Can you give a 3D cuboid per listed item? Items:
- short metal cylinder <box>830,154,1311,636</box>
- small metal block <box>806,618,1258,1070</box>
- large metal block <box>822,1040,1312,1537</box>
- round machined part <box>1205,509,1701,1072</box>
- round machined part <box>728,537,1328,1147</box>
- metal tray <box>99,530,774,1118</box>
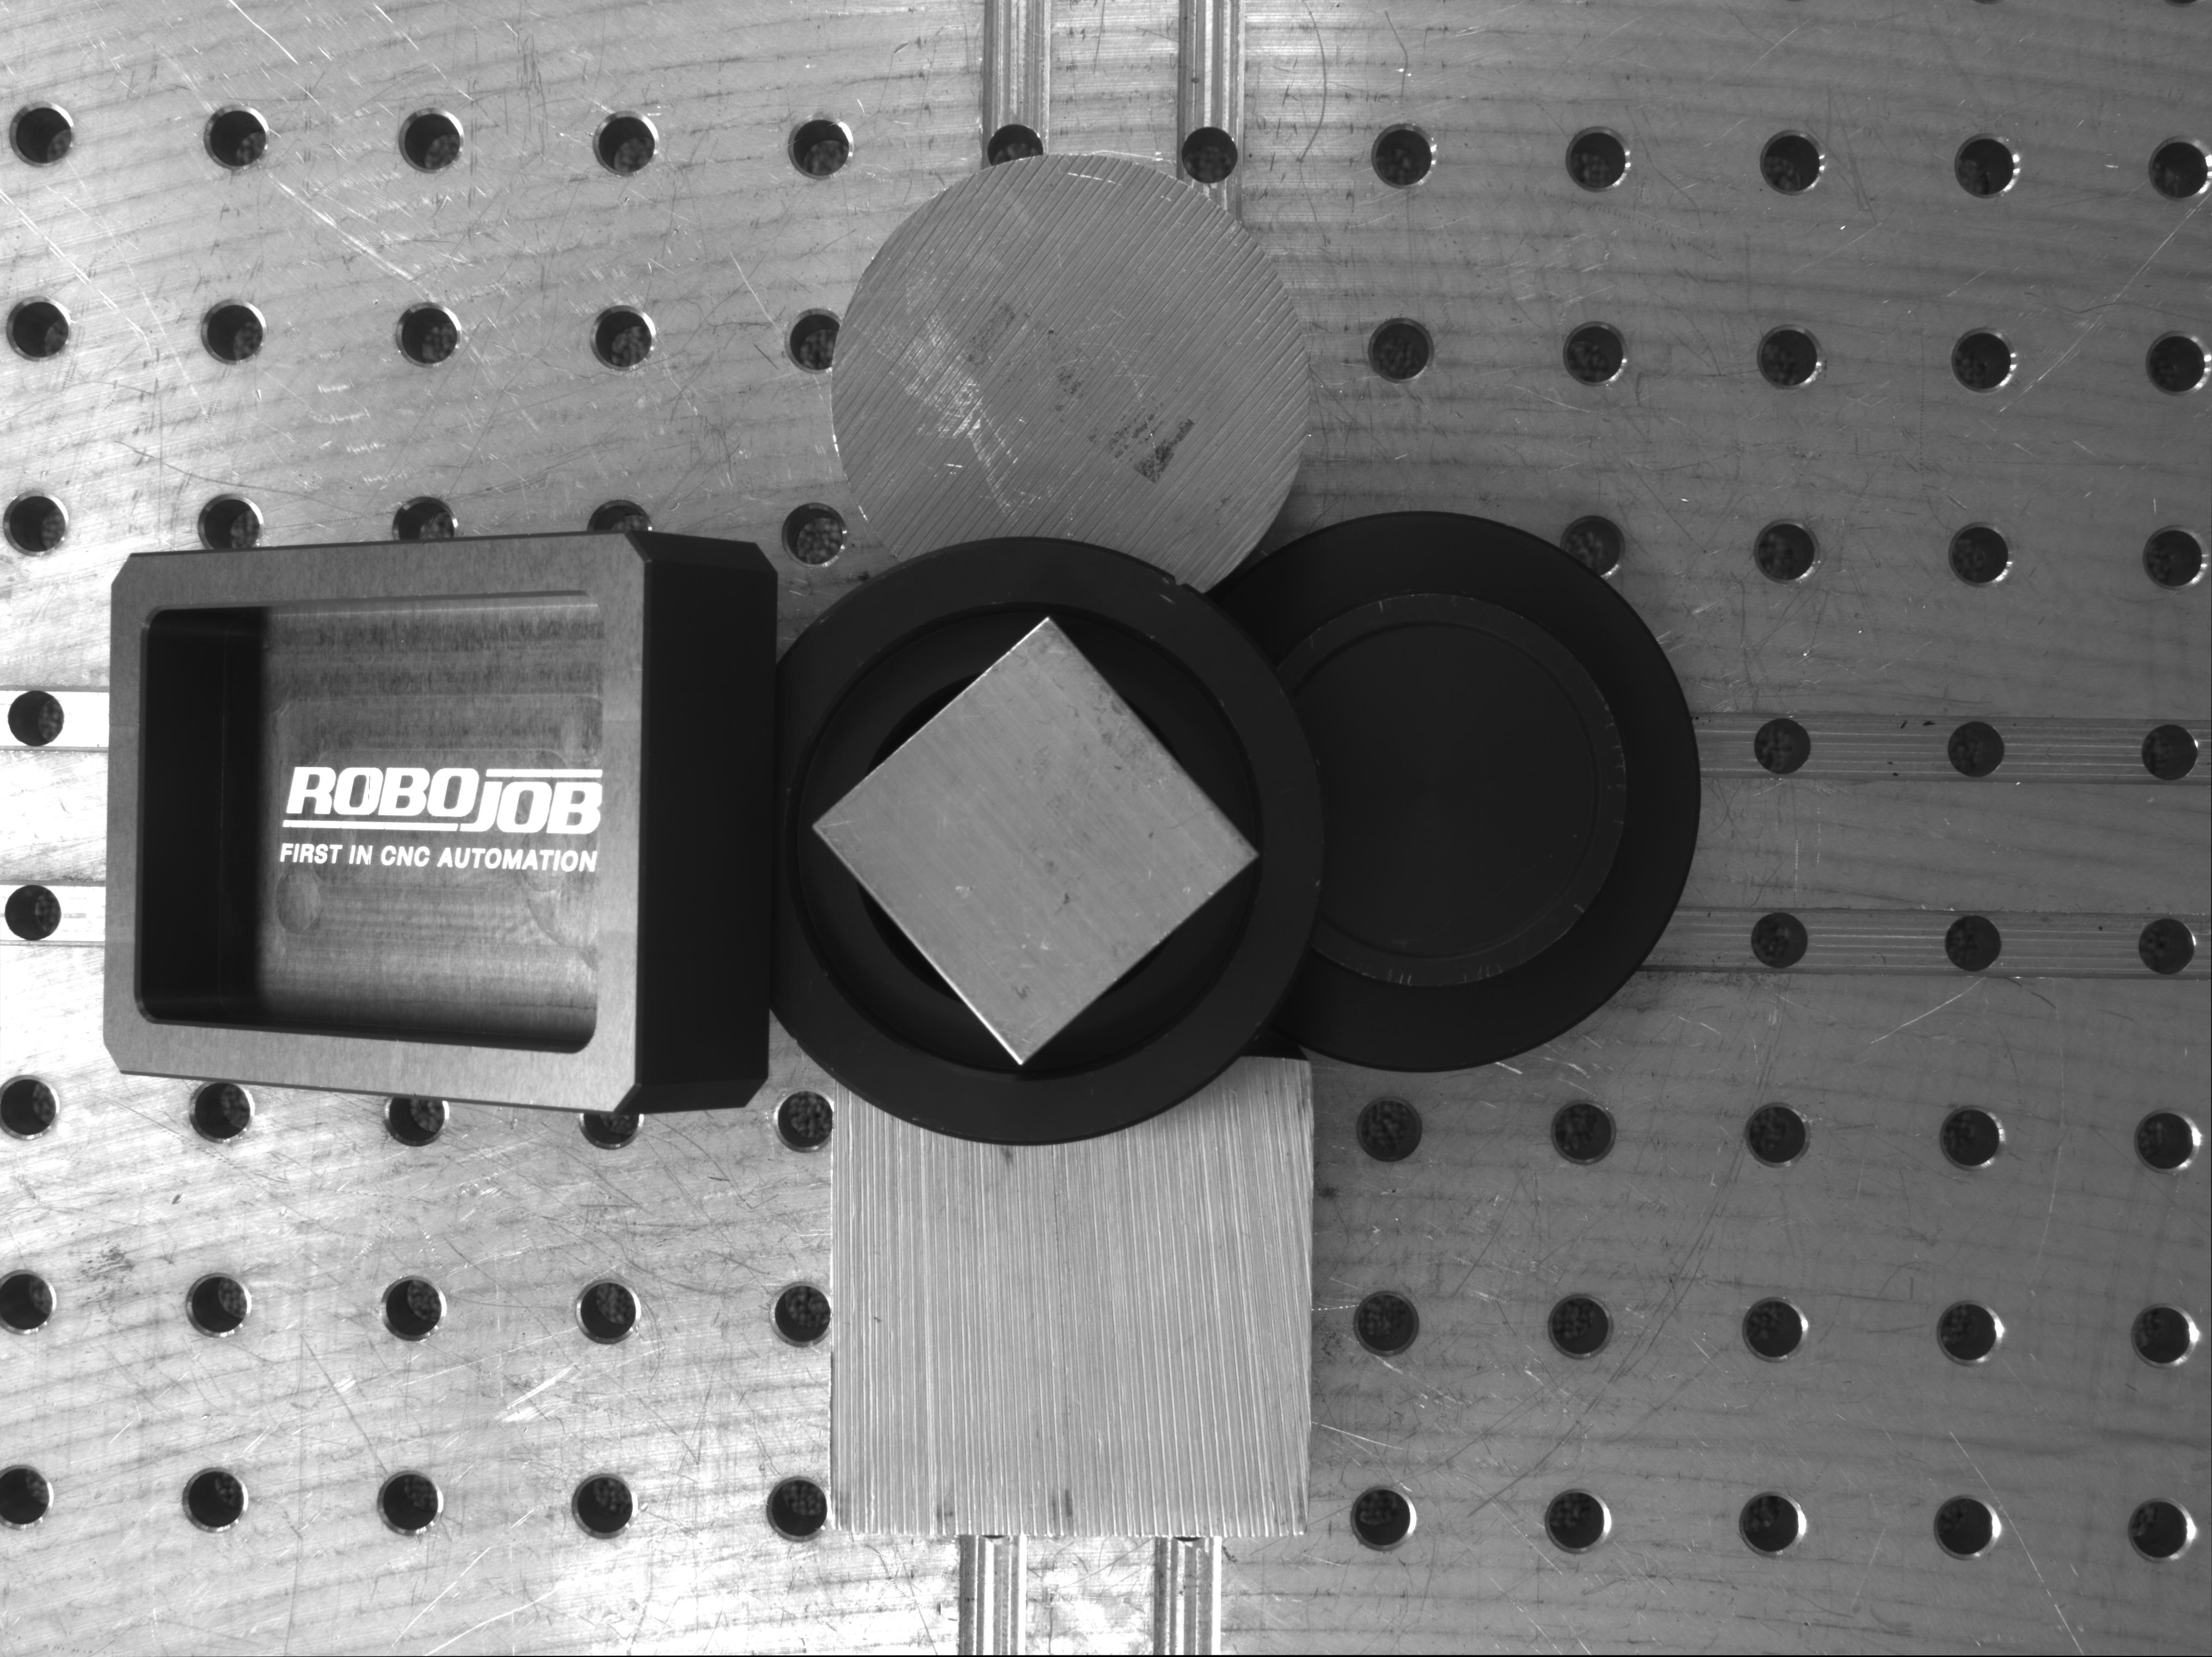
[{"bbox_3d":[-0.006,-0.072,0.635,0.080,0.050,0.080,0,90,0],"label":"short metal cylinder"},{"bbox_3d":[-0.011,0.002,0.586,0.050,0.025,0.050,-42,90,0],"label":"small metal block"},{"bbox_3d":[-0.006,0.077,0.632,0.080,0.050,0.080,1,90,0],"label":"large metal block"},{"bbox_3d":[0.055,-0.007,0.638,0.098,0.042,0.098,0,90,0],"label":"round machined part"},{"bbox_3d":[-0.013,0.002,0.610,0.098,0.042,0.098,0,90,0],"label":"round machined part"},{"bbox_3d":[-0.114,-0.001,0.609,0.129,0.030,0.090,1,90,37],"label":"metal tray"}]
